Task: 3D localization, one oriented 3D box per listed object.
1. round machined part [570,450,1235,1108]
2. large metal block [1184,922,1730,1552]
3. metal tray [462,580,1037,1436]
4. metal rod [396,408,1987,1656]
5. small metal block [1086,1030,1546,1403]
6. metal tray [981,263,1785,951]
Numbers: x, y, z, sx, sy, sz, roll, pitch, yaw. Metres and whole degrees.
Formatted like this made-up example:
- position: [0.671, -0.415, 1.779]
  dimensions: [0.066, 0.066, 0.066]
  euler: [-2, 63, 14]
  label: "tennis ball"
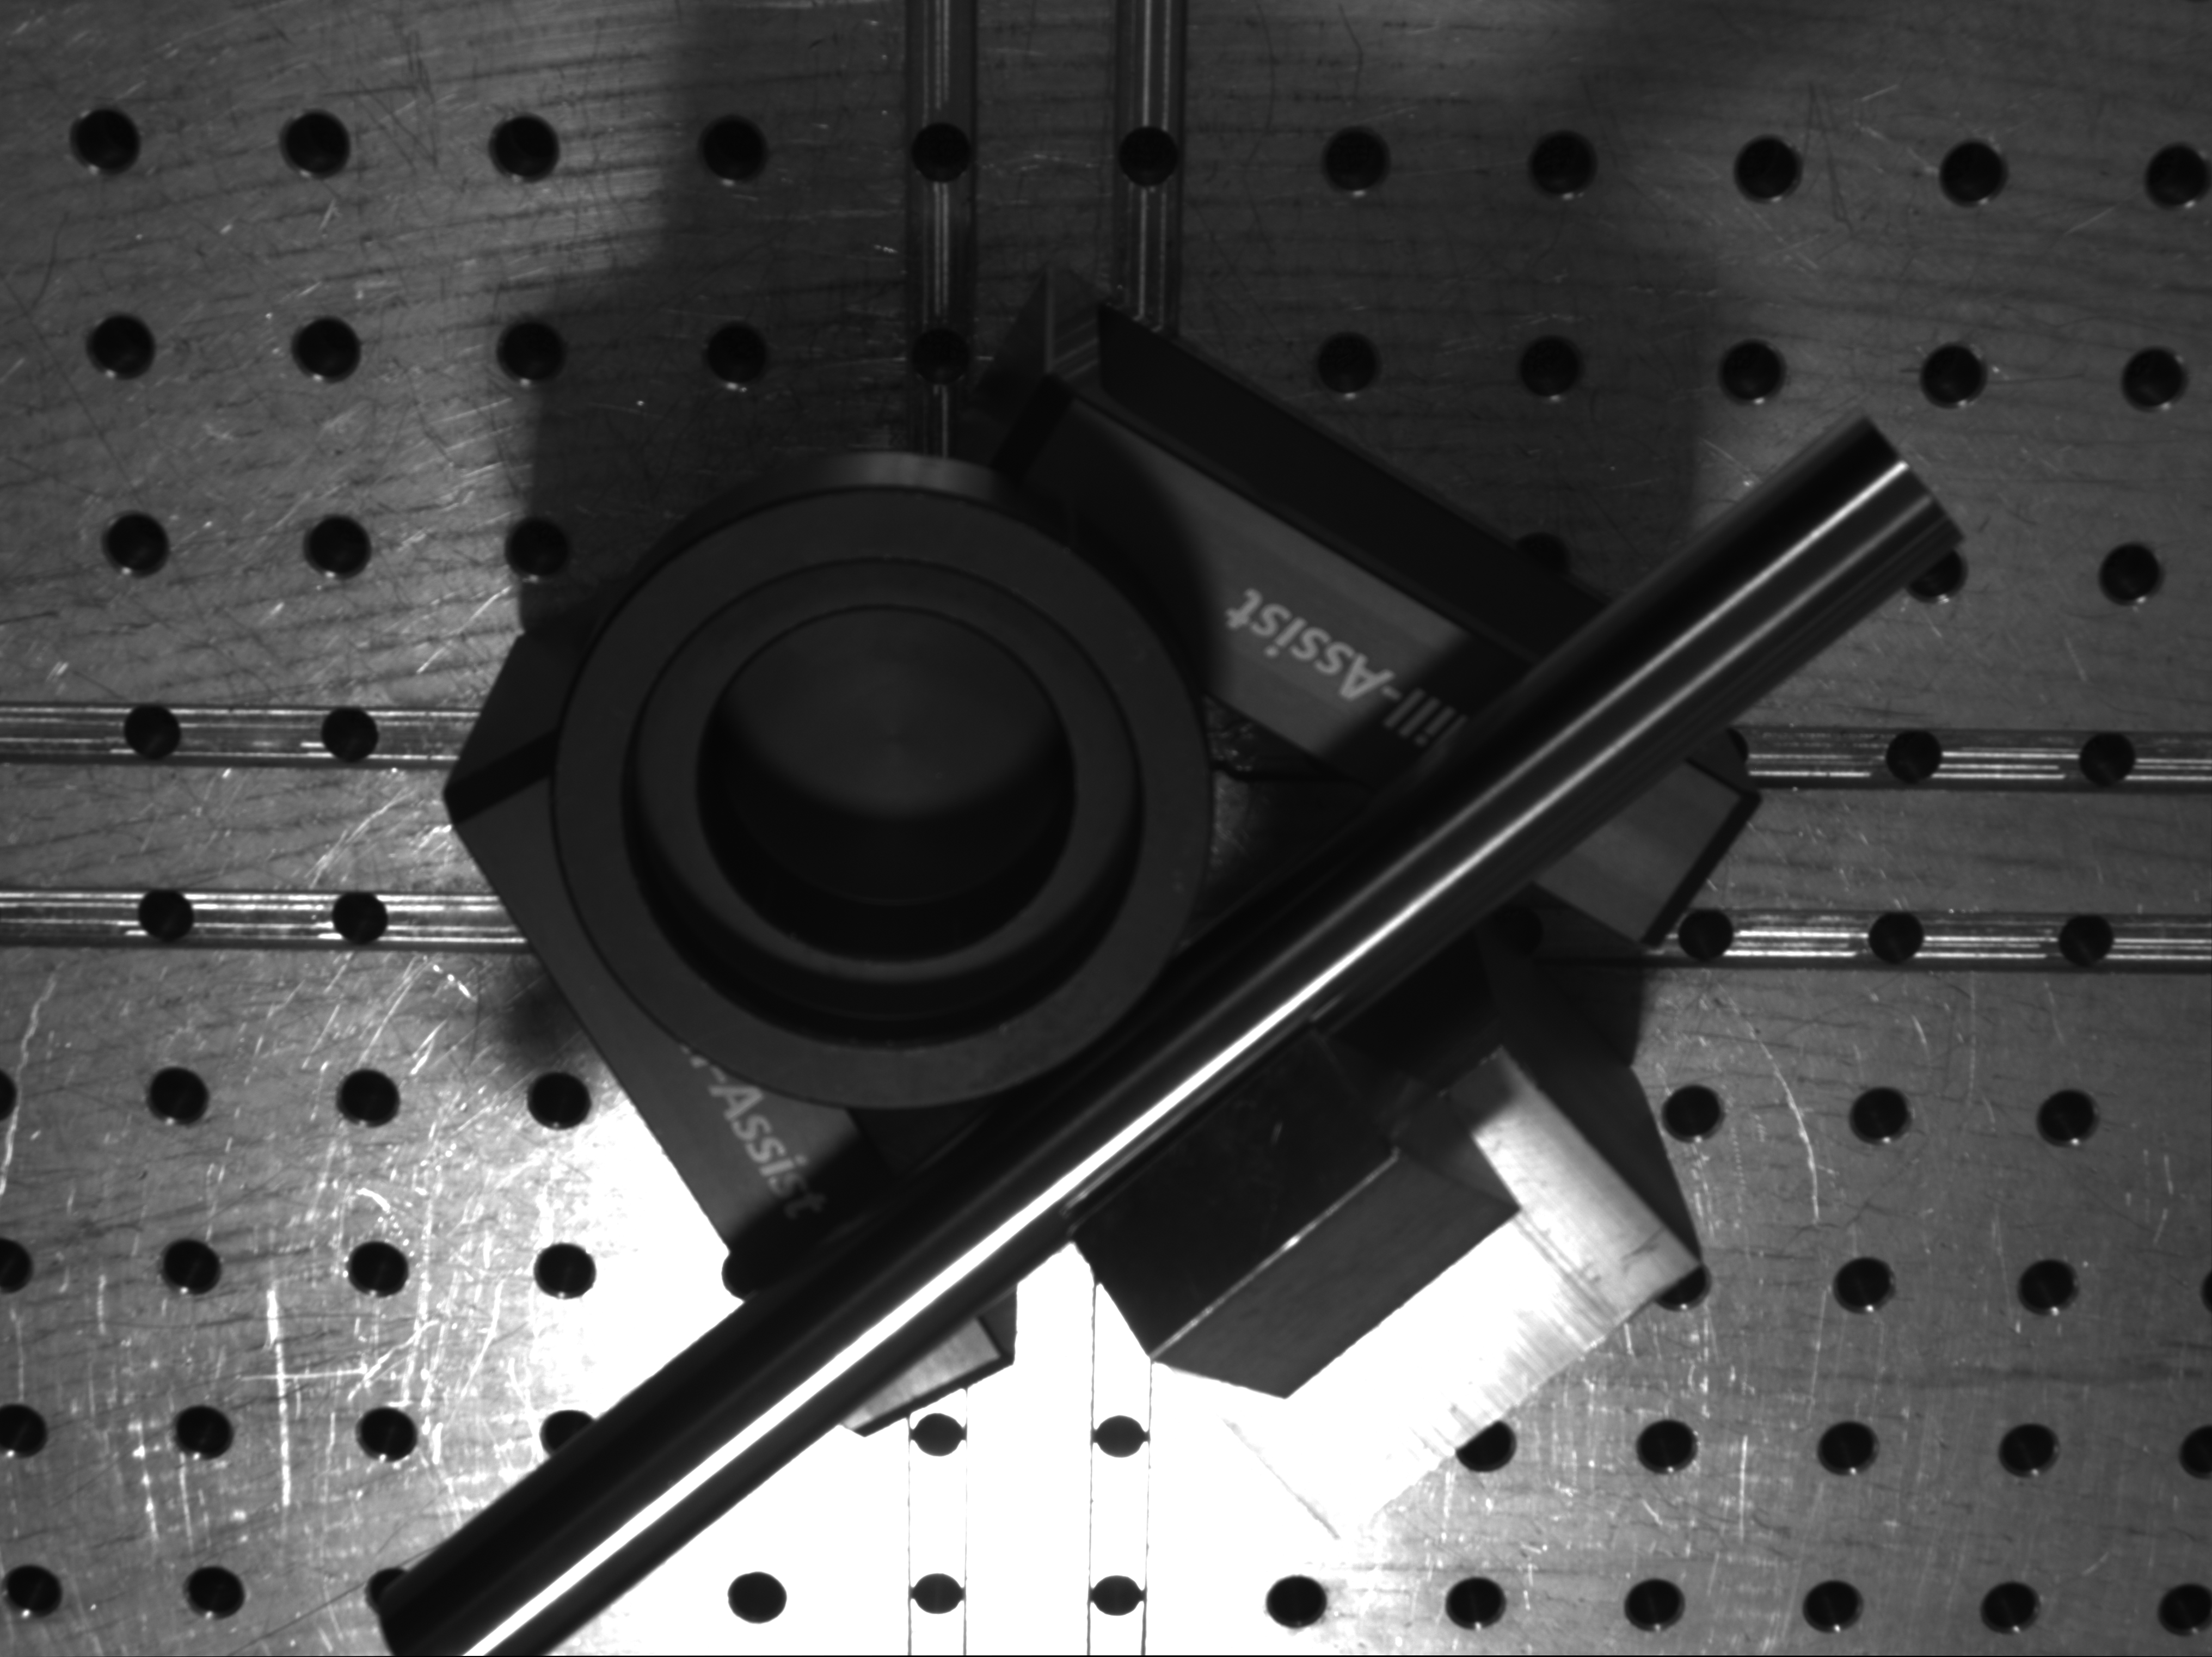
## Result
- position: [-0.030, -0.010, 0.559]
  dimensions: [0.098, 0.042, 0.098]
  euler: [0, 110, -1]
  label: "round machined part"
- position: [0.055, 0.065, 0.637]
  dimensions: [0.080, 0.080, 0.050]
  euler: [-40, 106, 13]
  label: "large metal block"
- position: [-0.056, 0.027, 0.620]
  dimensions: [0.030, 0.090, 0.130]
  euler: [-27, 108, 9]
  label: "metal tray"
- position: [0.007, 0.041, 0.564]
  dimensions: [0.300, 0.025, 0.025]
  euler: [-39, 106, 12]
  label: "metal rod"
- position: [0.033, 0.061, 0.568]
  dimensions: [0.050, 0.050, 0.025]
  euler: [-41, 61, 13]
  label: "small metal block"
- position: [0.043, -0.038, 0.597]
  dimensions: [0.130, 0.090, 0.030]
  euler: [30, 108, -11]
  label: "metal tray"
